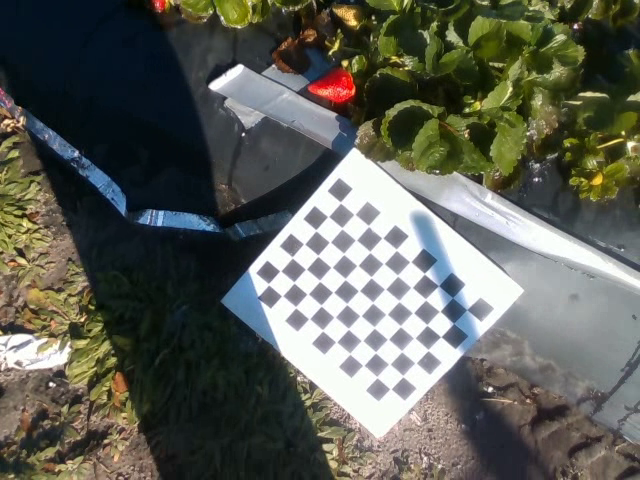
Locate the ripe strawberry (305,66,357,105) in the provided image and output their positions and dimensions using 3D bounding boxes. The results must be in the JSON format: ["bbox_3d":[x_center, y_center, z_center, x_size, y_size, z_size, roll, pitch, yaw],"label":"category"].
[{"bbox_3d":[0.012,-0.206,0.796,0.065,0.062,0.057,-24,10,-38],"label":"ripe strawberry"}]
